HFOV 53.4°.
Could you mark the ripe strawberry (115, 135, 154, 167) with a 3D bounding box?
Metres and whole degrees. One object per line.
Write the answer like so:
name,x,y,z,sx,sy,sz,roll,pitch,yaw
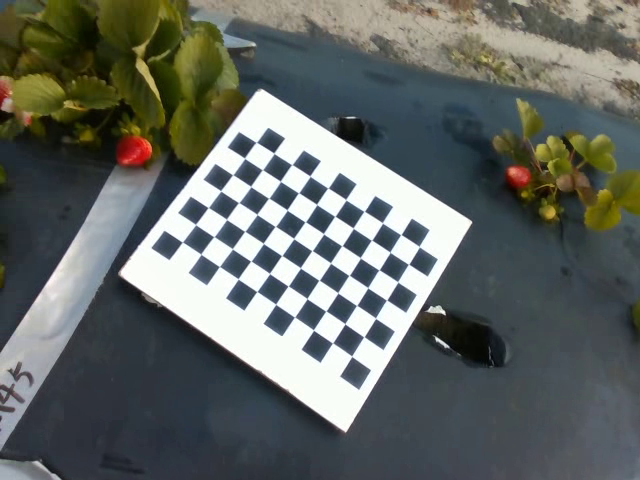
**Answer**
ripe strawberry,-0.192,-0.088,0.647,0.050,0.055,0.036,30,-38,-4
